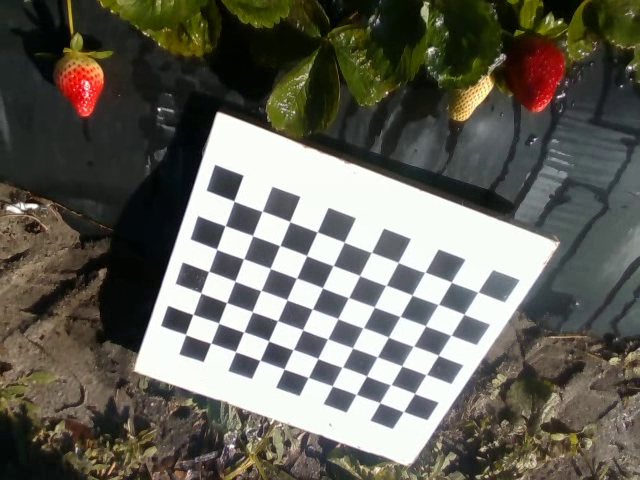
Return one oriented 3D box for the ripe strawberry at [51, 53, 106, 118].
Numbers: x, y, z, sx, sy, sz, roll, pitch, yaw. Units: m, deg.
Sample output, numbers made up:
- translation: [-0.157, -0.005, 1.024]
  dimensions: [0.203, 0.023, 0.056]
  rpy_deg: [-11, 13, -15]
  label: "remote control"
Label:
- translation: [-0.174, -0.113, 0.463]
  dimensions: [0.039, 0.053, 0.041]
  rpy_deg: [1, 11, 4]
  label: "ripe strawberry"
